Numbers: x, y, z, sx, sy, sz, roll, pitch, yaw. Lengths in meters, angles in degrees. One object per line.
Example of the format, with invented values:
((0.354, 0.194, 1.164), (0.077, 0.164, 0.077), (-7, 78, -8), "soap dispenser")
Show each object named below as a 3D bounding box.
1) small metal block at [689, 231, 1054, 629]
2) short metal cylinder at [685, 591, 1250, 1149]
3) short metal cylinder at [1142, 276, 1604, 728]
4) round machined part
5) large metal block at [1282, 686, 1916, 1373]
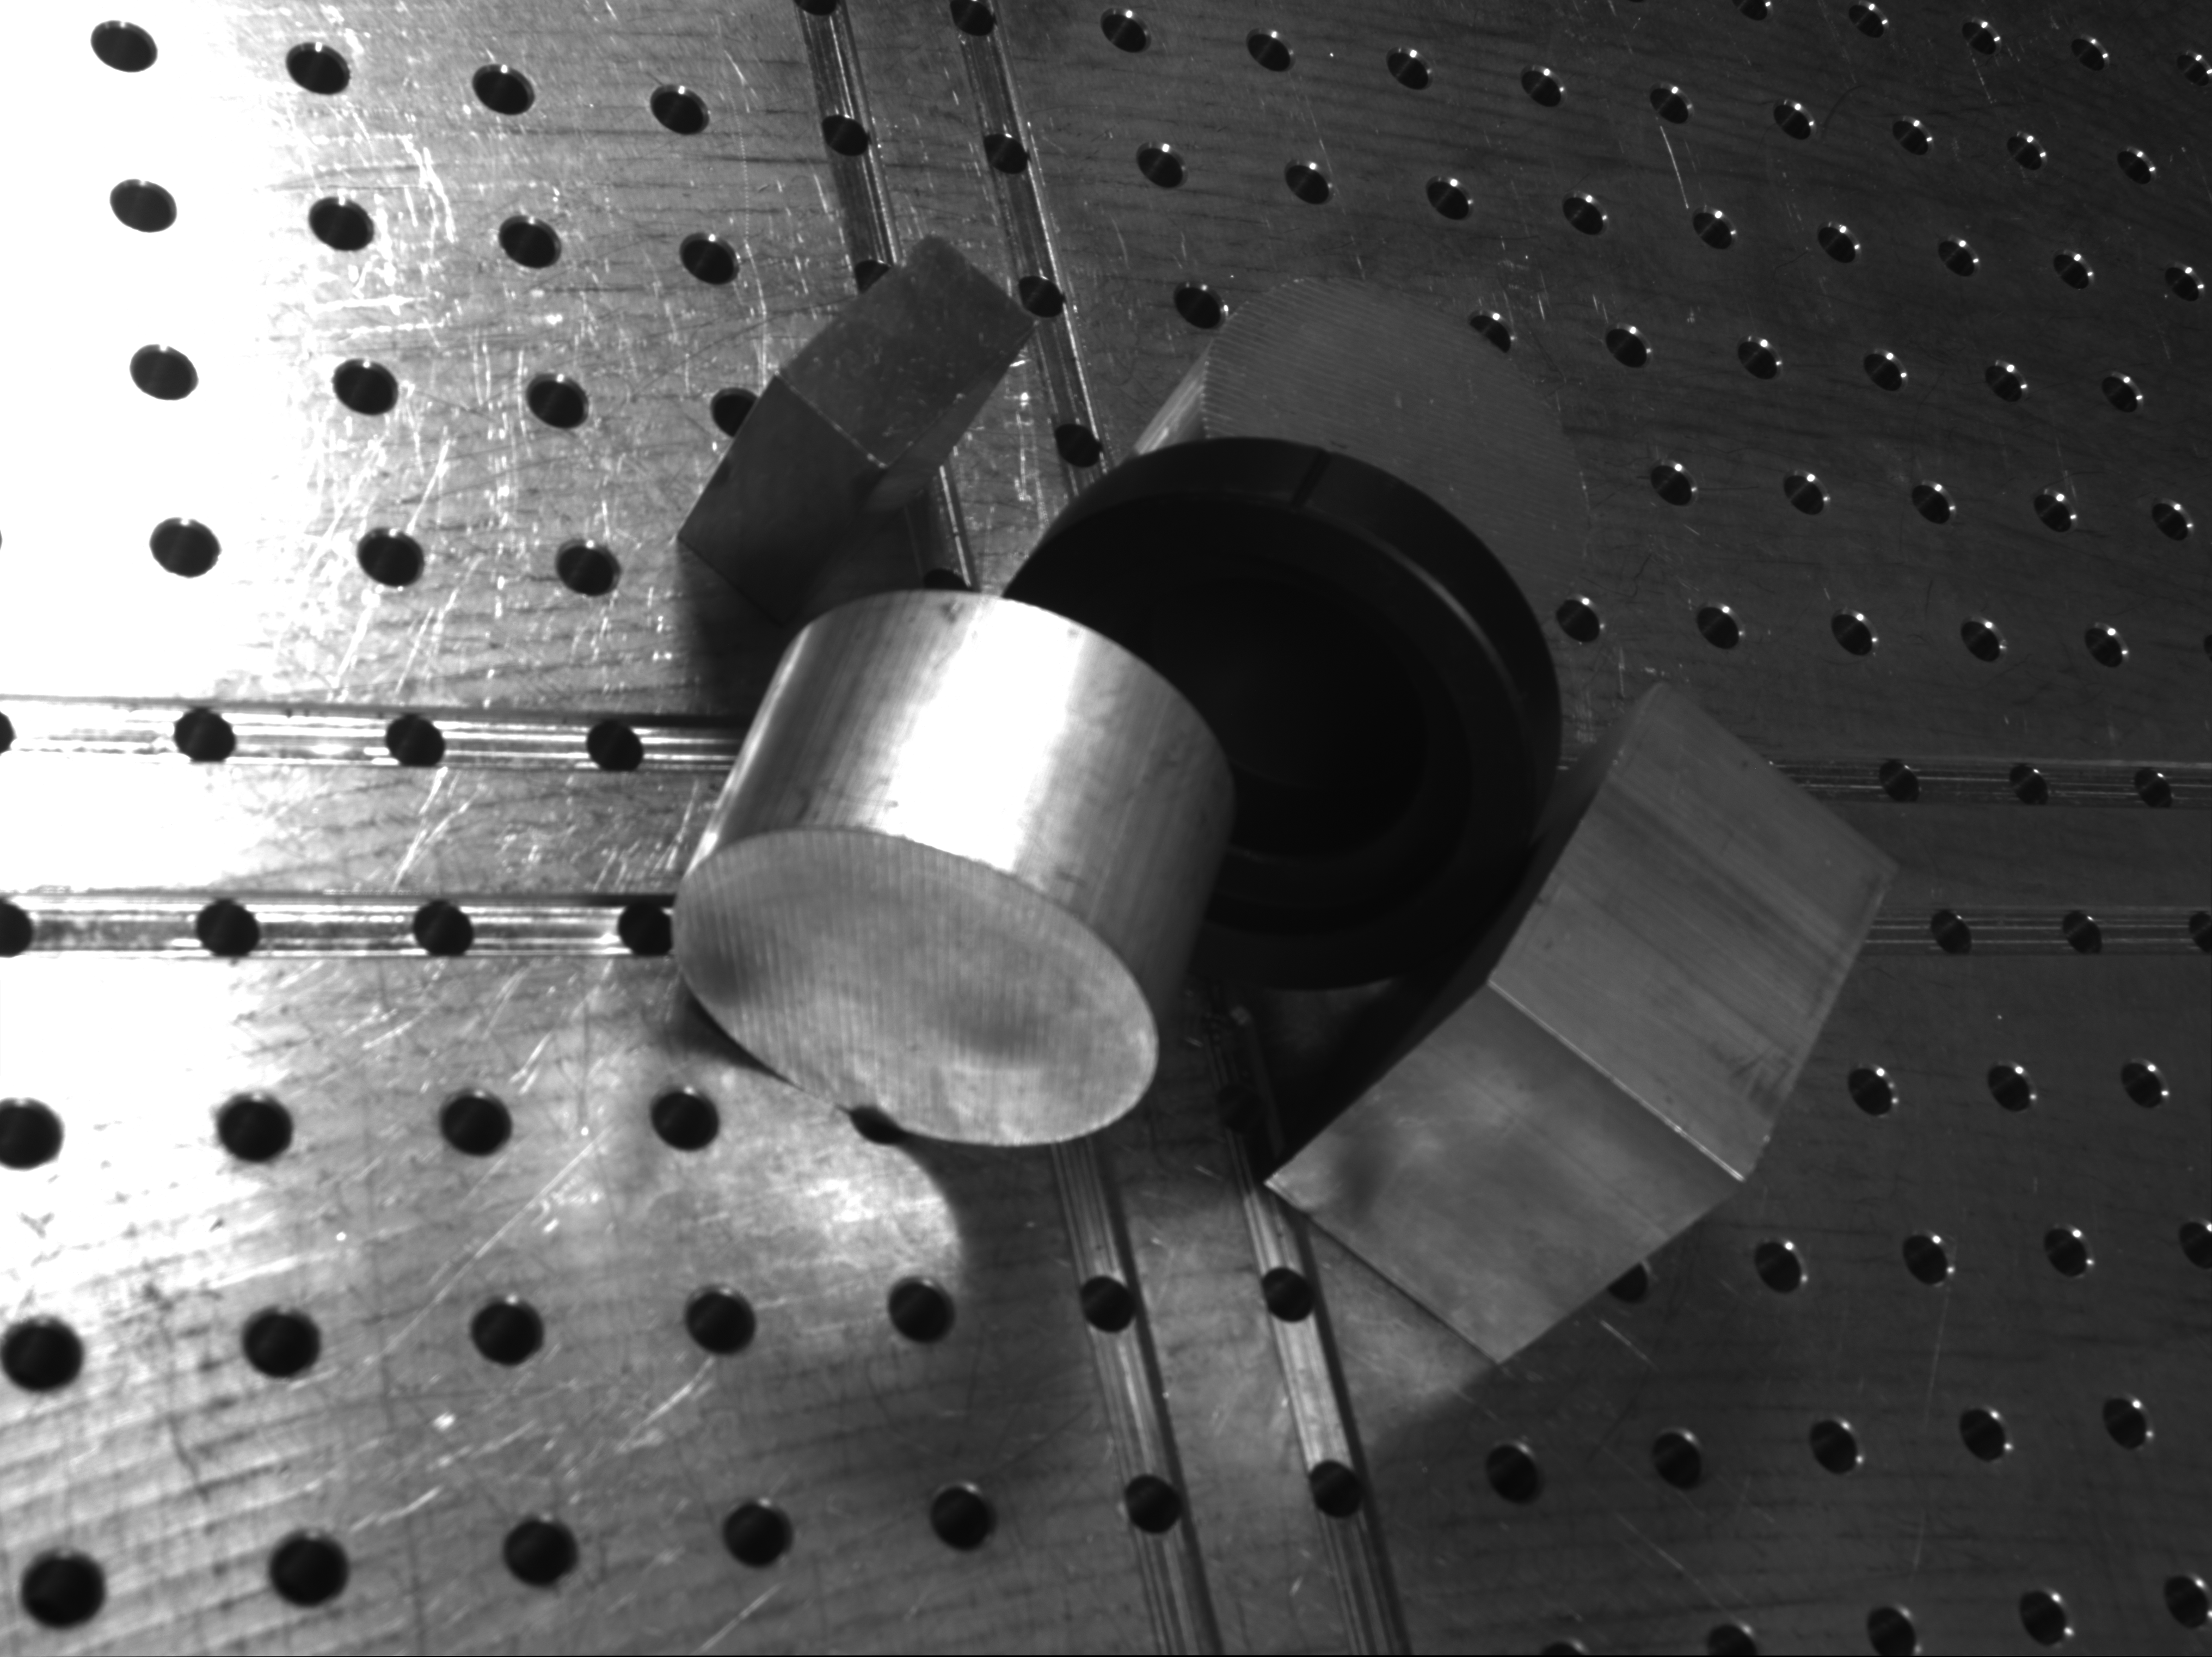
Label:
((-0.042, -0.070, 0.647), (0.025, 0.050, 0.050), (41, 51, 0), "small metal block")
((-0.021, 0.008, 0.591), (0.080, 0.080, 0.050), (28, 52, -11), "short metal cylinder")
((0.046, -0.056, 0.685), (0.080, 0.050, 0.080), (14, 56, -21), "short metal cylinder")
((0.033, -0.024, 0.629), (0.098, 0.098, 0.042), (36, 39, -4), "round machined part")
((0.085, 0.035, 0.632), (0.050, 0.080, 0.080), (37, 51, -3), "large metal block")
